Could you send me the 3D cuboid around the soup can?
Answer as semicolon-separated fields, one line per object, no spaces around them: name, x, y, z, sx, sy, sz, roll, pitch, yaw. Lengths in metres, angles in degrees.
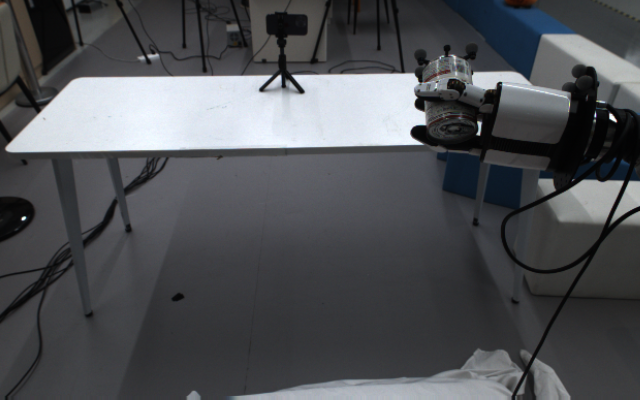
soup can;0.177;-0.137;0.659;0.067;0.067;0.101;2;68;-1
